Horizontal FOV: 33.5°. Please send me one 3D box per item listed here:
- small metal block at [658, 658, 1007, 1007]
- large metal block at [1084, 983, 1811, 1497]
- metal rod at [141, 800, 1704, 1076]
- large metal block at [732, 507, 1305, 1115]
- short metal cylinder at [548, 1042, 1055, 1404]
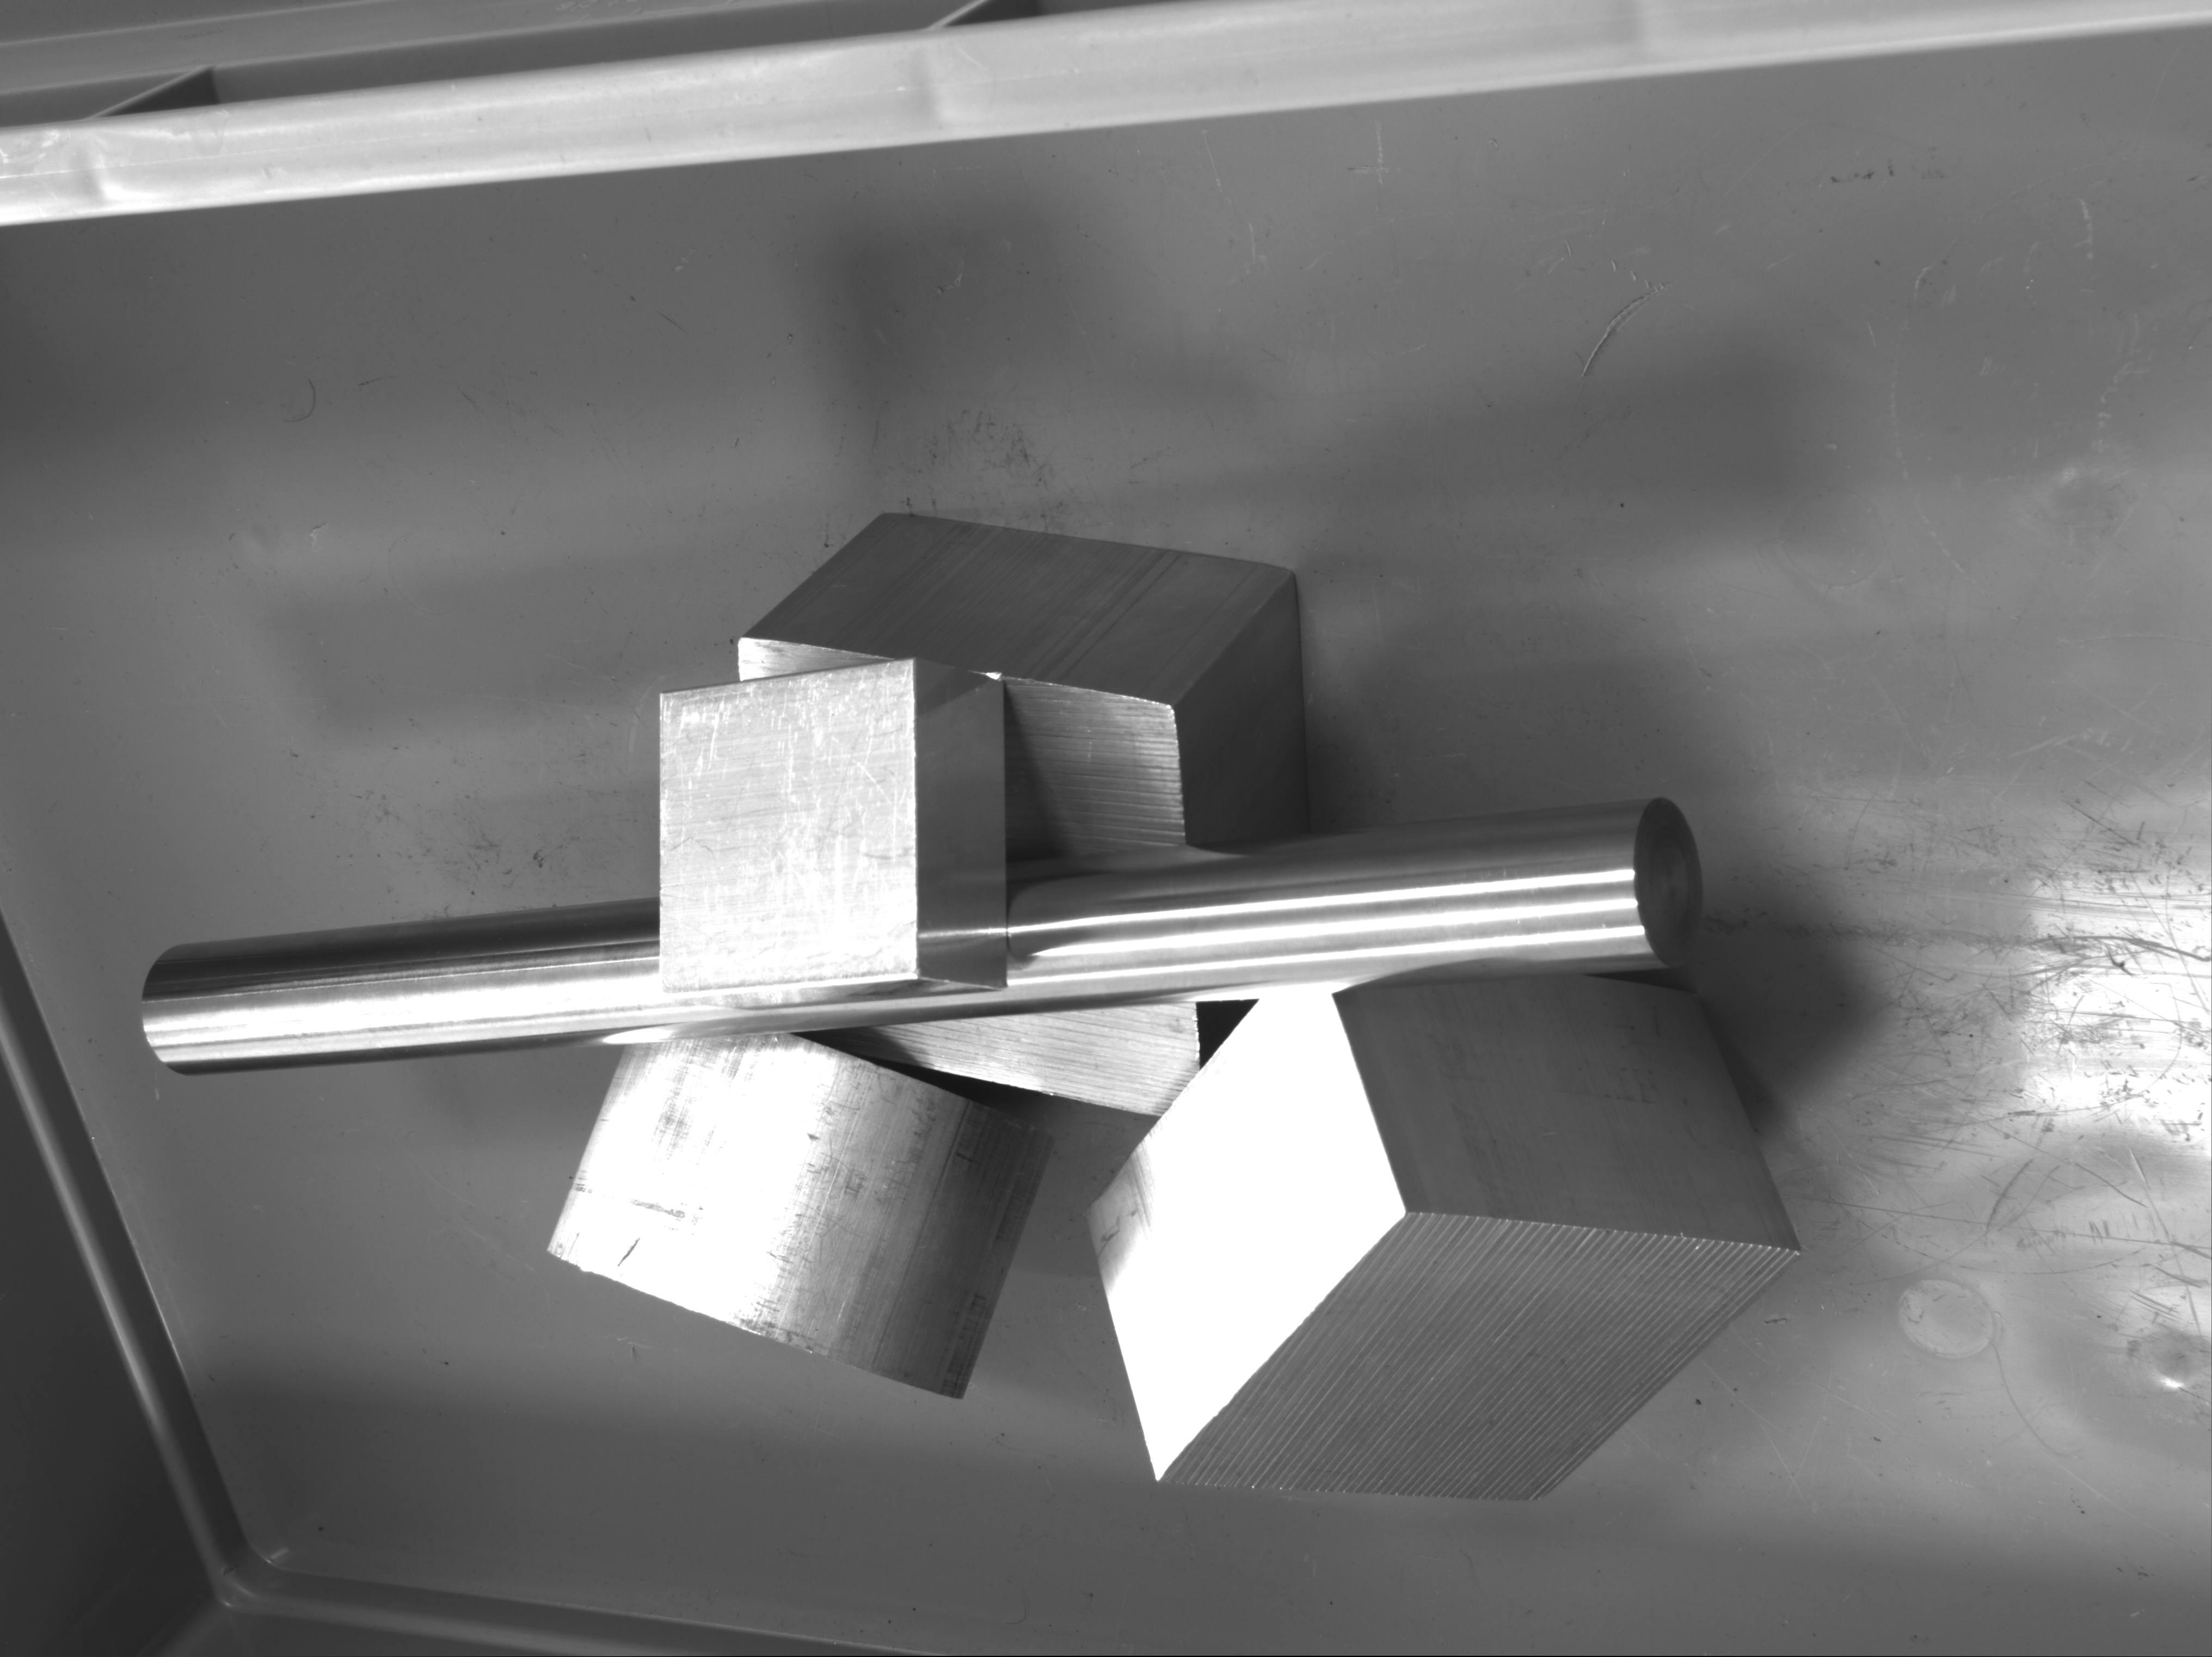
[{"bbox_3d":[-0.044,0.002,0.586,0.050,0.025,0.050,-6,80,31],"label":"small metal block"},{"bbox_3d":[0.055,0.067,0.609,0.080,0.050,0.080,8,137,-30],"label":"large metal block"},{"bbox_3d":[-0.045,0.021,0.614,0.299,0.025,0.025,-6,115,31],"label":"metal rod"},{"bbox_3d":[-0.013,-0.003,0.630,0.080,0.050,0.080,10,123,23],"label":"large metal block"},{"bbox_3d":[-0.055,0.067,0.669,0.080,0.080,0.050,18,83,18],"label":"short metal cylinder"}]
